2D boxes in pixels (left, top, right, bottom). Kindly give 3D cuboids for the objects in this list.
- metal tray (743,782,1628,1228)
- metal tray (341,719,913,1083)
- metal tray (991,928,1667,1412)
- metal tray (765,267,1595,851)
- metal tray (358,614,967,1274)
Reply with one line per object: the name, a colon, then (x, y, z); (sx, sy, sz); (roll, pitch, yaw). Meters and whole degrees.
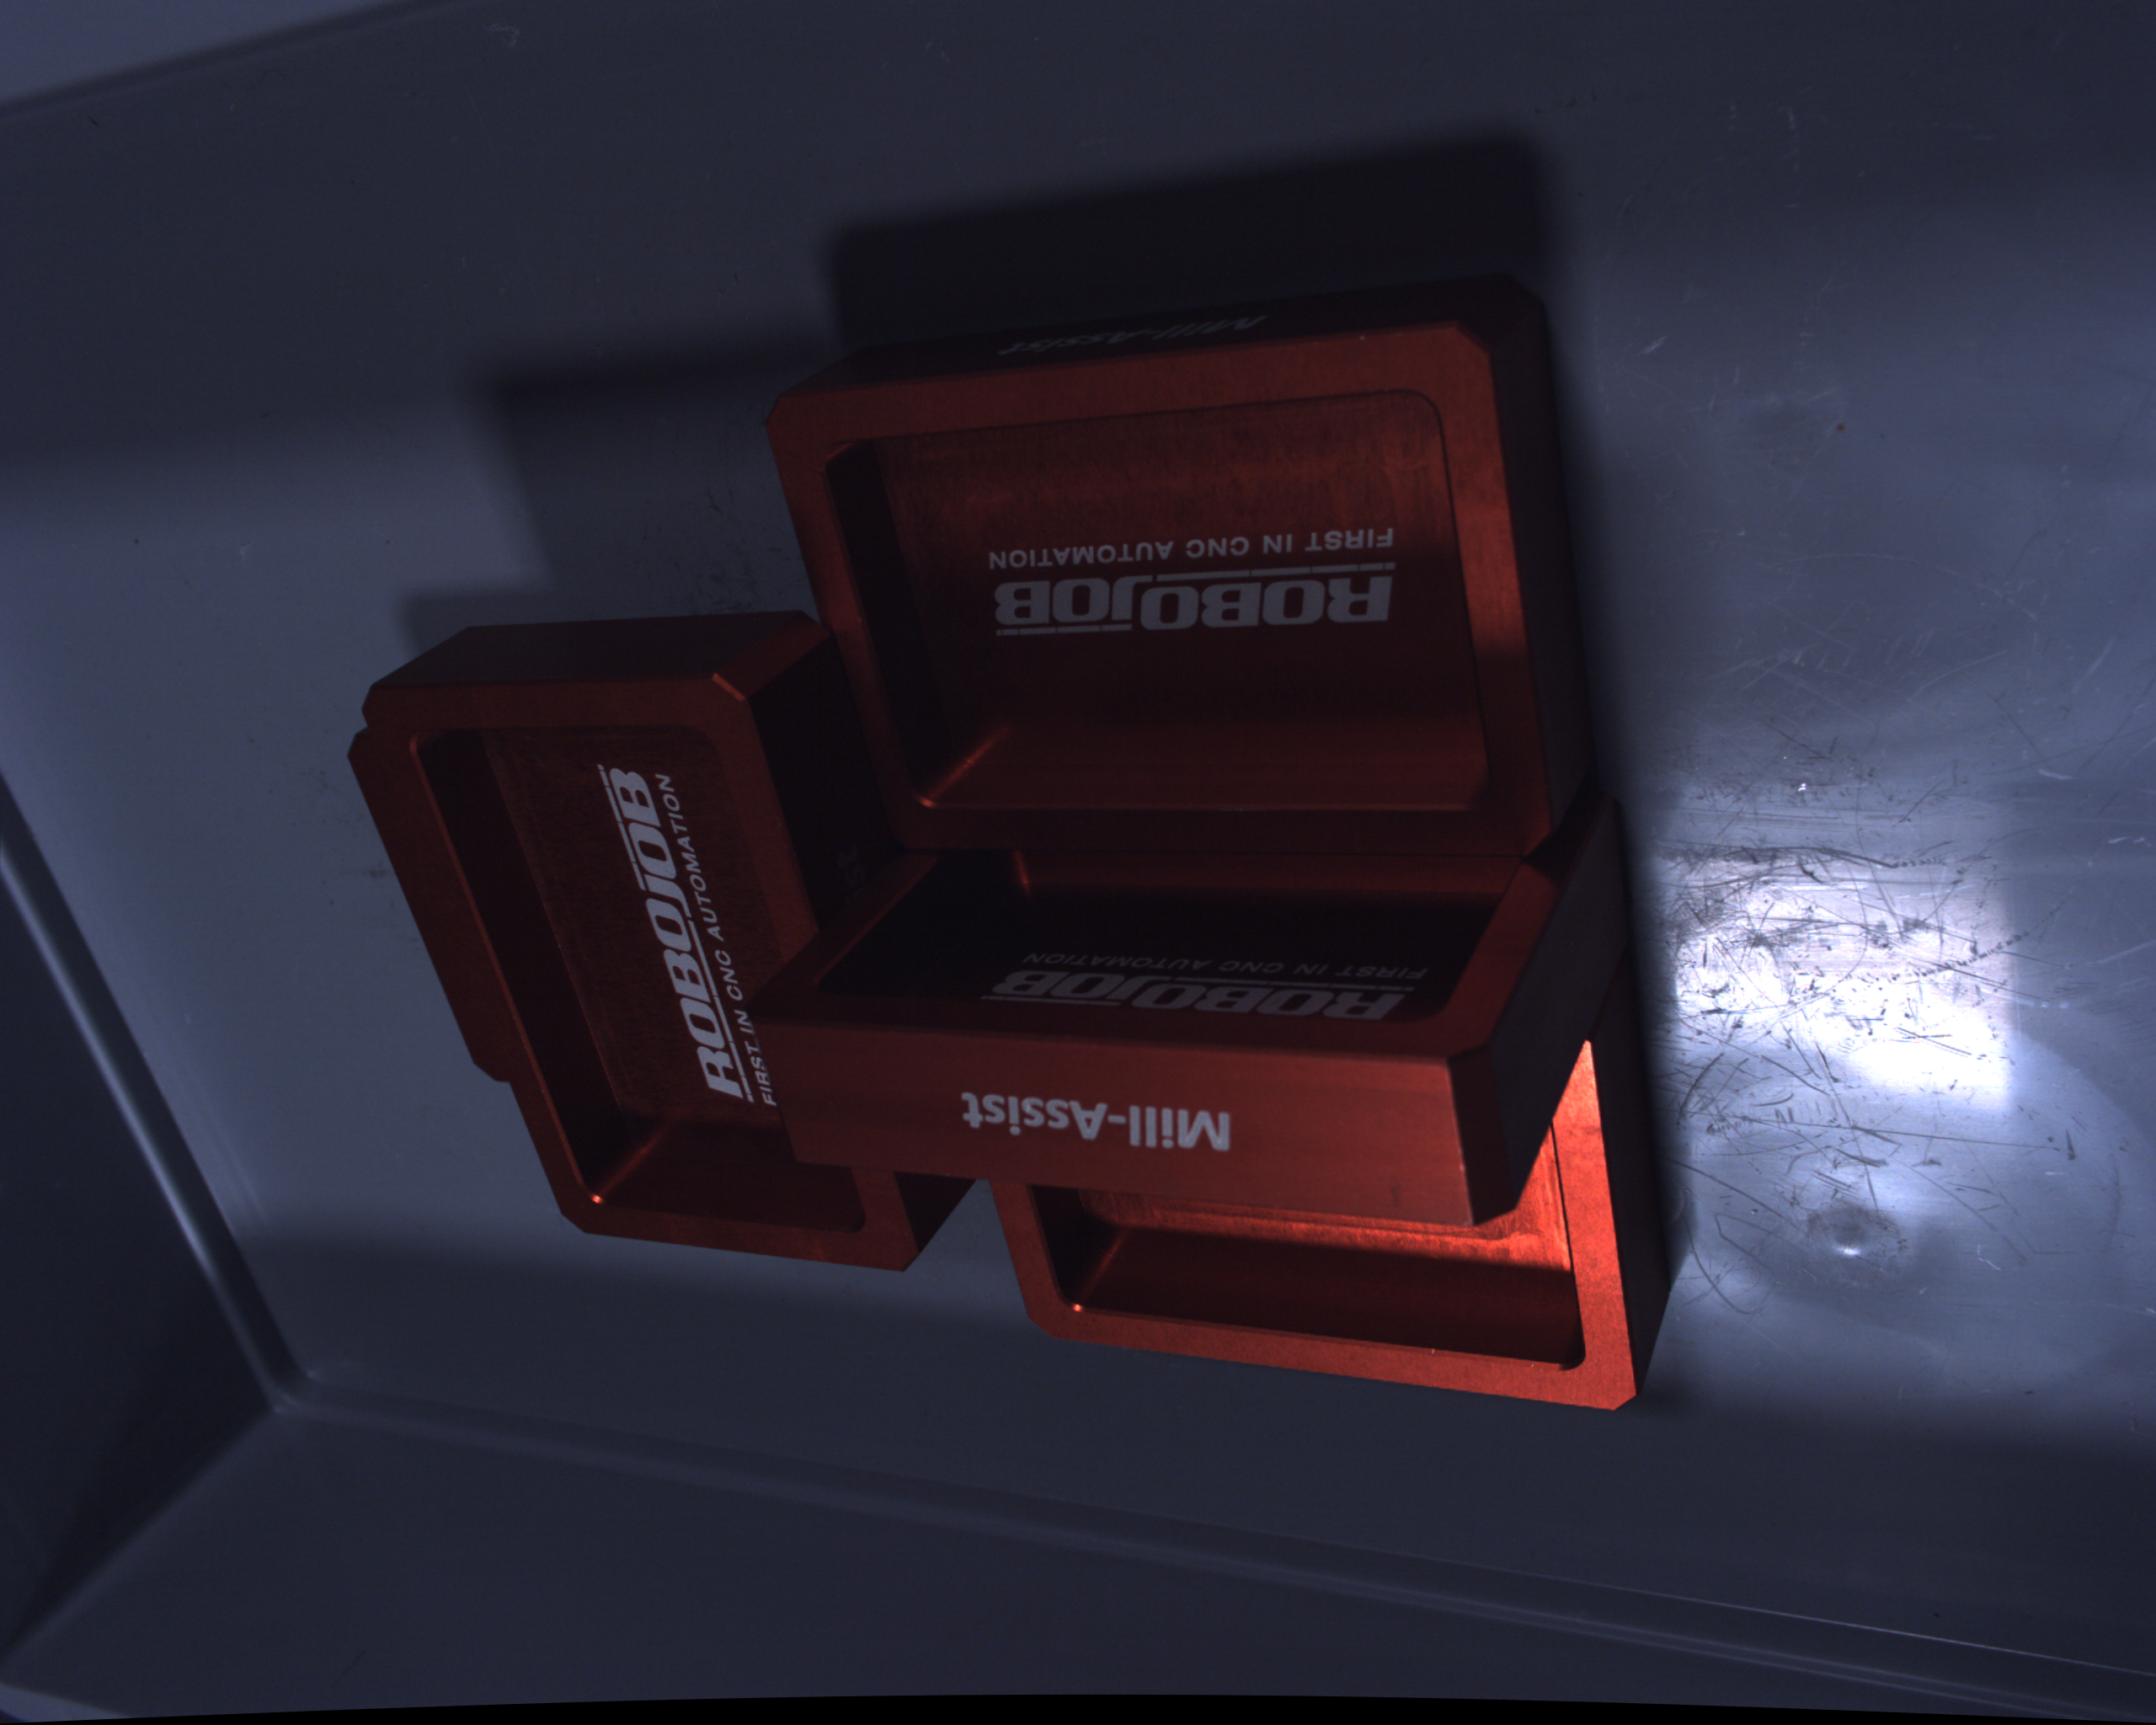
metal tray: (0.020, 0.019, 0.363); (0.130, 0.090, 0.030); (1, 119, 27)
metal tray: (-0.087, 0.006, 0.449); (0.130, 0.030, 0.089); (0, 119, 27)
metal tray: (0.045, 0.057, 0.414); (0.130, 0.030, 0.089); (1, 119, 27)
metal tray: (0.018, -0.049, 0.363); (0.130, 0.030, 0.089); (1, 119, 27)
metal tray: (-0.079, 0.017, 0.414); (0.090, 0.030, 0.129); (1, 119, 27)
